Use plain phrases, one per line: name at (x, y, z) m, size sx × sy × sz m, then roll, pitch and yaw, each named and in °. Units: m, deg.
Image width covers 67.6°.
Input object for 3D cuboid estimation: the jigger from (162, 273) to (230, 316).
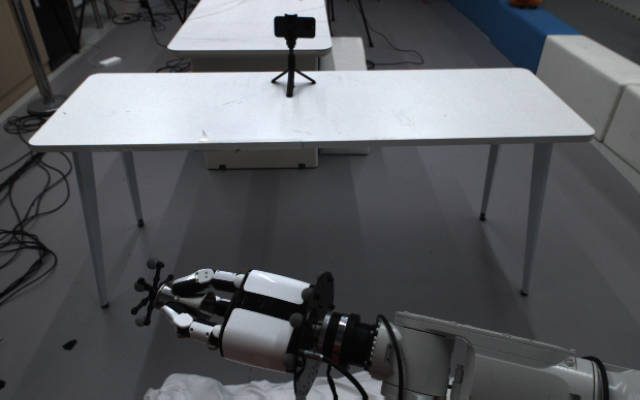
jigger at (-0.176, 0.136, 0.657) m, size 0.071 × 0.043 × 0.043 m, roll 11°, pitch 36°, yaw 15°
